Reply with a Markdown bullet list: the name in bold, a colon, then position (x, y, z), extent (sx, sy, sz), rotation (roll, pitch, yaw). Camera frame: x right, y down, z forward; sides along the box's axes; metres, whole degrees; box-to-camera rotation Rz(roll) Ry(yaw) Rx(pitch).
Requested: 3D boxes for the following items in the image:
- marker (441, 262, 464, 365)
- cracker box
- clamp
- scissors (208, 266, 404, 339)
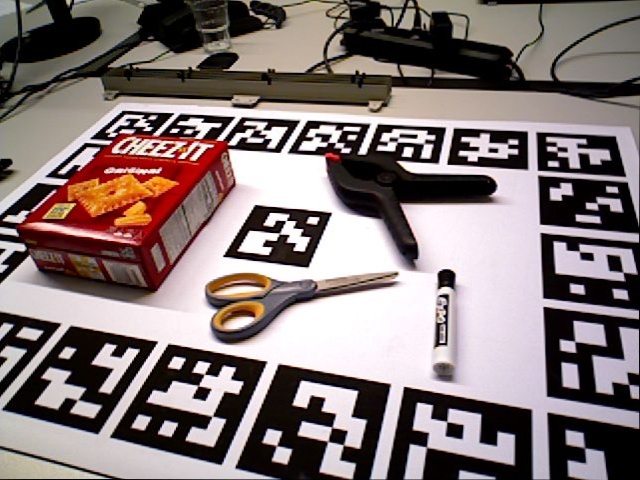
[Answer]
- **marker**: position (0.123, 0.062, 0.500), extent (0.020, 0.020, 0.118), rotation (3, 39, 12)
- **cracker box**: position (-0.219, -0.043, 0.647), extent (0.165, 0.073, 0.209), rotation (6, 41, 16)
- **clamp**: position (0.081, -0.061, 0.667), extent (0.203, 0.037, 0.162), rotation (29, 50, 36)
- **scissors**: position (-0.013, 0.047, 0.543), extent (0.201, 0.016, 0.087), rotation (-12, 38, -9)
